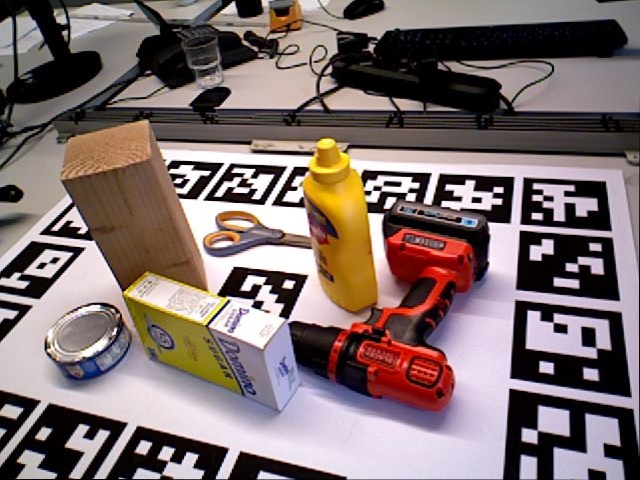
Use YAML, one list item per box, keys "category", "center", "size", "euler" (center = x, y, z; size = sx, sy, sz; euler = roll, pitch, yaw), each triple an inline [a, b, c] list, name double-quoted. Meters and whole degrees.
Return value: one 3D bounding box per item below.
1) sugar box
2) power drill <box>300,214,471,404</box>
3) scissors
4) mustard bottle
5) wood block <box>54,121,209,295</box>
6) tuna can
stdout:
- category: "sugar box"
  center: [-0.100, 0.096, 0.530]
  size: [0.177, 0.095, 0.044]
  euler: [15, 45, 25]
- category: "power drill"
  center: [0.061, 0.060, 0.553]
  size: [0.185, 0.058, 0.183]
  euler: [15, 56, 28]
- category: "scissors"
  center: [-0.083, -0.014, 0.700]
  size: [0.204, 0.016, 0.085]
  euler: [6, 41, 20]
- category: "mustard bottle"
  center: [0.021, -0.021, 0.562]
  size: [0.058, 0.195, 0.095]
  euler: [-23, 44, -12]
- category: "wood block"
  center: [-0.198, -0.016, 0.603]
  size: [0.090, 0.210, 0.089]
  euler: [-15, 43, -3]
- category: "tuna can"
  center: [-0.256, 0.108, 0.594]
  size: [0.086, 0.034, 0.084]
  euler: [-7, 43, 6]
